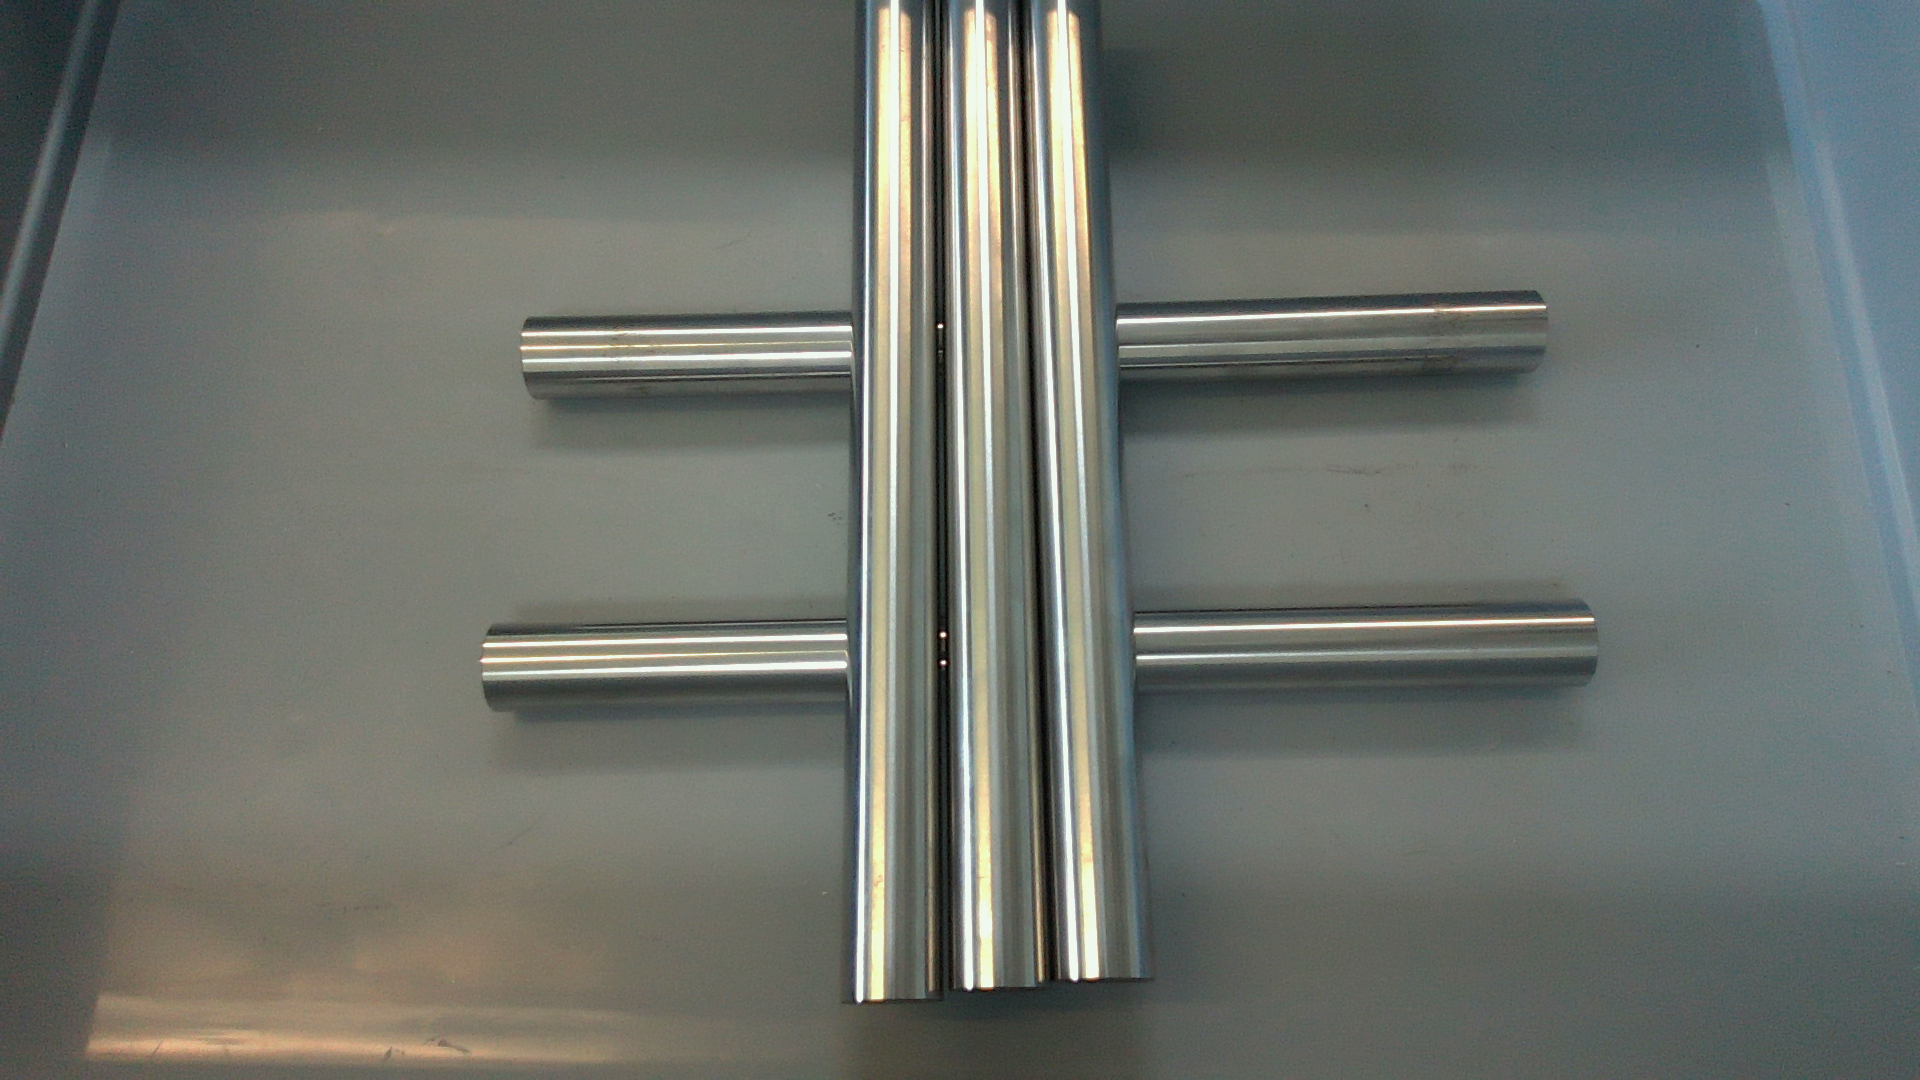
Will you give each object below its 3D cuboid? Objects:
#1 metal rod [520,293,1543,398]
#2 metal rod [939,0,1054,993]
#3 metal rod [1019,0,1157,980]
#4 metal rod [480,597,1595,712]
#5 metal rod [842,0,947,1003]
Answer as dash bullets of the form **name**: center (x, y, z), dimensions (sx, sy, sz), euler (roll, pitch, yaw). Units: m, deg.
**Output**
- **metal rod**: center (0.022, -0.058, 0.415), dimensions (0.300, 0.025, 0.025), euler (-1, 70, -1)
- **metal rod**: center (0.008, -0.034, 0.378), dimensions (0.025, 0.025, 0.300), euler (-1, 70, 0)
- **metal rod**: center (0.032, -0.036, 0.379), dimensions (0.025, 0.025, 0.300), euler (-1, 70, 0)
- **metal rod**: center (0.021, 0.032, 0.382), dimensions (0.300, 0.025, 0.025), euler (-1, 70, -1)
- **metal rod**: center (-0.018, -0.031, 0.377), dimensions (0.025, 0.025, 0.300), euler (-1, 70, 0)
